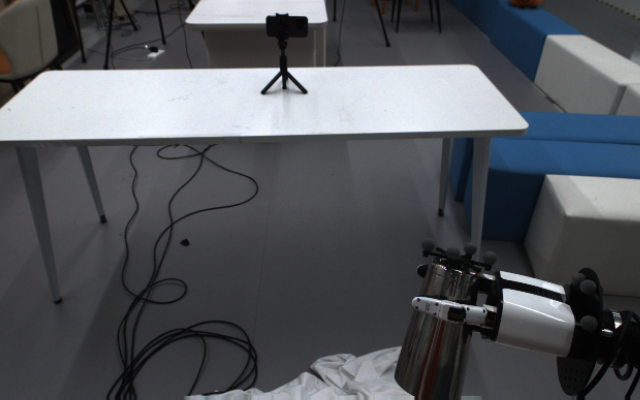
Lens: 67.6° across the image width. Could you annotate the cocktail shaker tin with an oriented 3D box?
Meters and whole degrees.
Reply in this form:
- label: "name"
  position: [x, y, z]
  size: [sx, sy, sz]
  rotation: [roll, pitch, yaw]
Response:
- label: "cocktail shaker tin"
  position: [0.165, 0.164, 0.648]
  size: [0.093, 0.170, 0.093]
  rotation: [10, 10, -2]
